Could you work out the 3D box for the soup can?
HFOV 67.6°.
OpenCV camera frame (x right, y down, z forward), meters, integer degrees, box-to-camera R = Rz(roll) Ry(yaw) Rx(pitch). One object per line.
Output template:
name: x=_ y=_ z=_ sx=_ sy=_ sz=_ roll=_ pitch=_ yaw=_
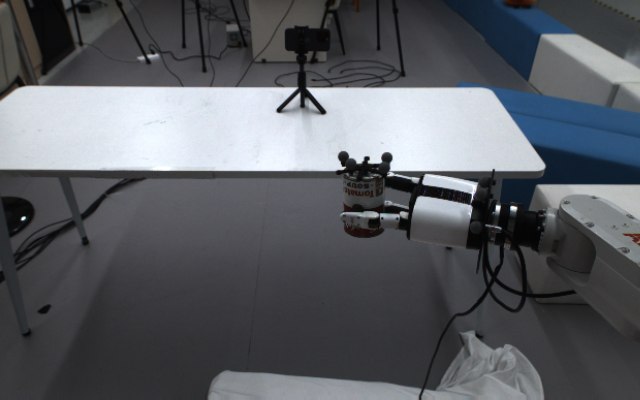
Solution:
soup can: x=0.072 y=-0.001 z=0.773 sx=0.067 sy=0.101 sz=0.067 roll=-3 pitch=27 yaw=2
